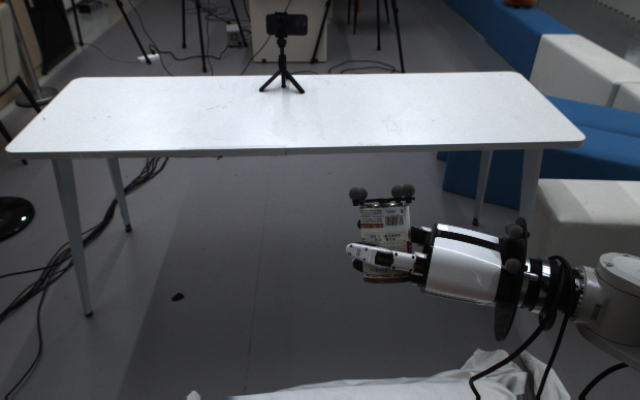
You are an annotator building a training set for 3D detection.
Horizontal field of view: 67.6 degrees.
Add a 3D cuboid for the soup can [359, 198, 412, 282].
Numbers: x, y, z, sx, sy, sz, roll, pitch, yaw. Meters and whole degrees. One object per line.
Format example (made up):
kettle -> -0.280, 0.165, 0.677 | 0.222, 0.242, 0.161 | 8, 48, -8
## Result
soup can -> 0.090, 0.056, 0.643 | 0.067, 0.101, 0.067 | -3, -1, 0
